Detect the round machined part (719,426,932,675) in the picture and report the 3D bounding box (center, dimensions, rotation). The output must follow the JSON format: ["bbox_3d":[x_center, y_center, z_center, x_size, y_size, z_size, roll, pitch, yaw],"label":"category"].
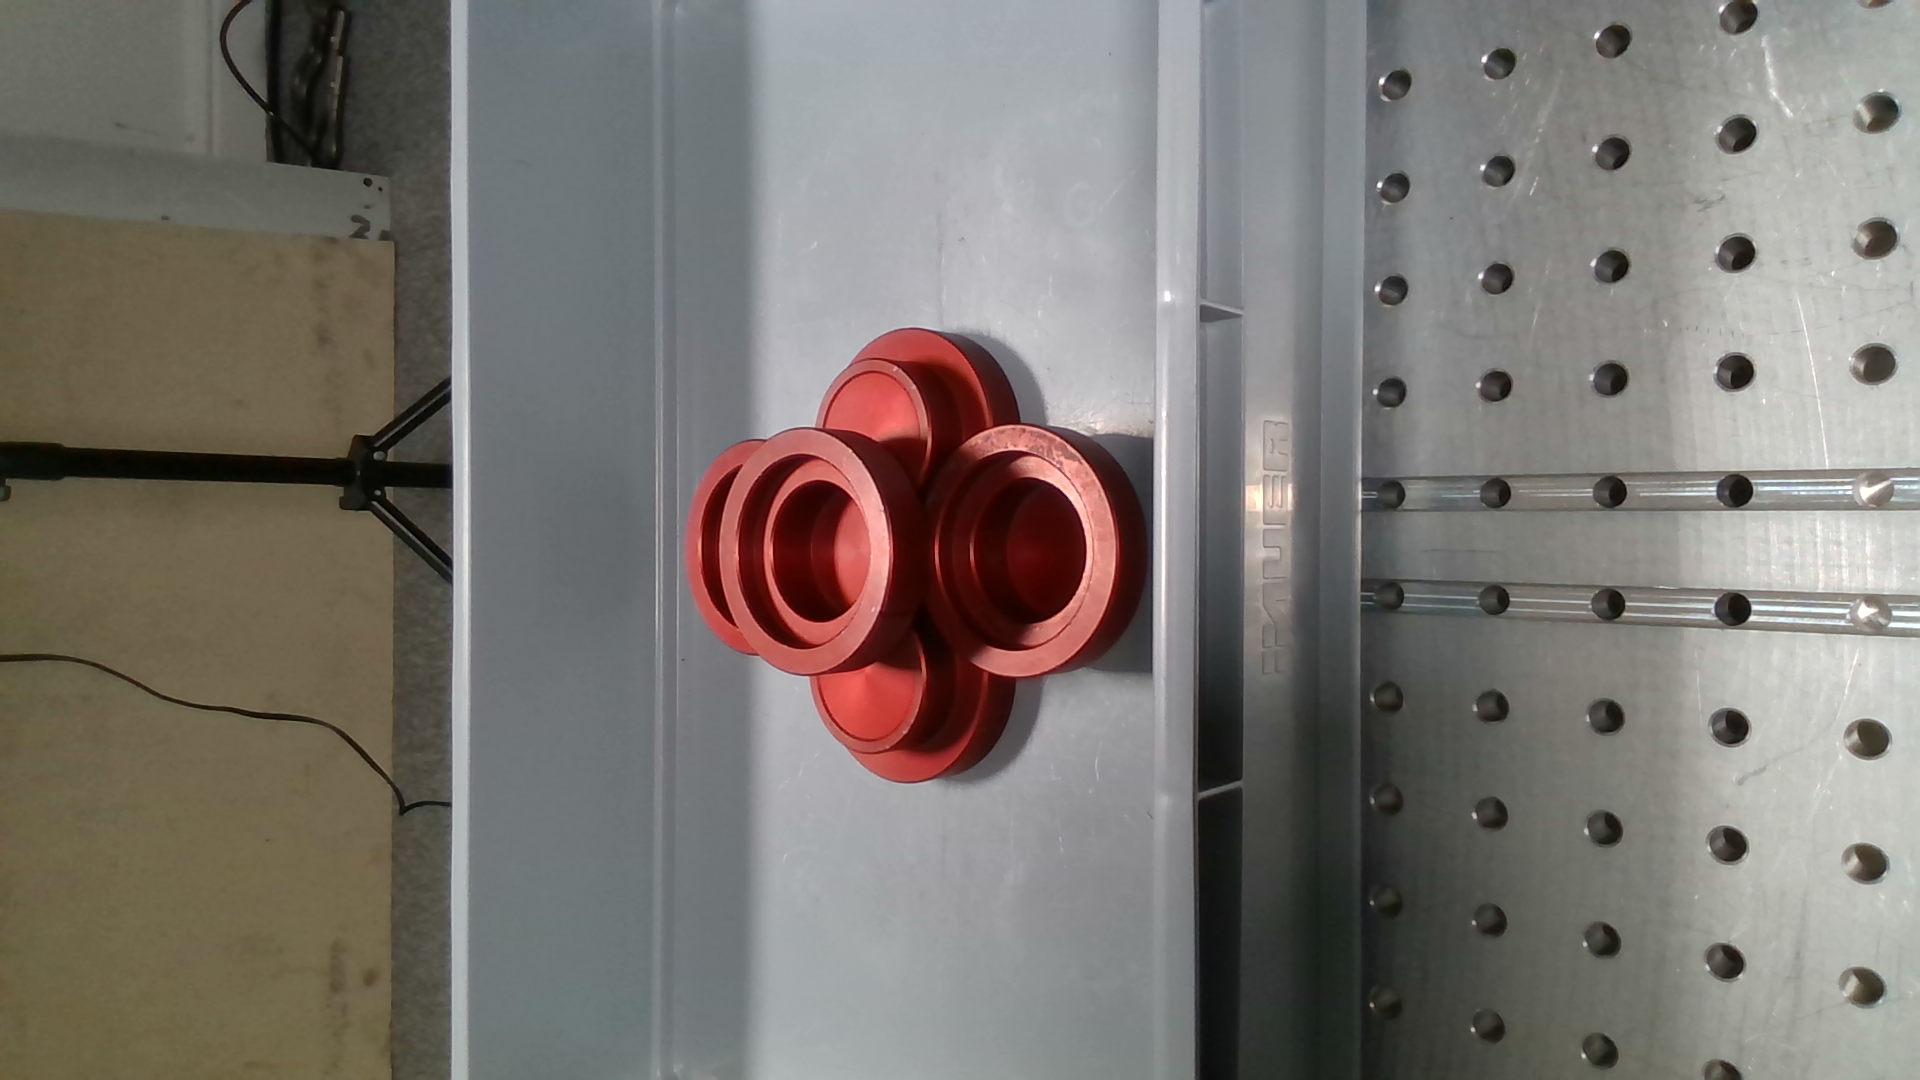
[{"bbox_3d":[-0.050,0.004,0.556,0.098,0.042,0.098,0,91,40],"label":"round machined part"}]

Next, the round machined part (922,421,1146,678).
[{"bbox_3d":[0.032,0.004,0.541,0.098,0.042,0.098,0,91,40],"label":"round machined part"}]

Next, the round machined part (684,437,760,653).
[{"bbox_3d":[-0.080,0.003,0.637,0.098,0.042,0.098,0,91,40],"label":"round machined part"}]

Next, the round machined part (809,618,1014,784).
[{"bbox_3d":[-0.027,0.056,0.592,0.098,0.042,0.098,0,91,40],"label":"round machined part"}]

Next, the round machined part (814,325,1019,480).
[{"bbox_3d":[-0.025,-0.043,0.590,0.098,0.042,0.098,0,91,40],"label":"round machined part"}]
